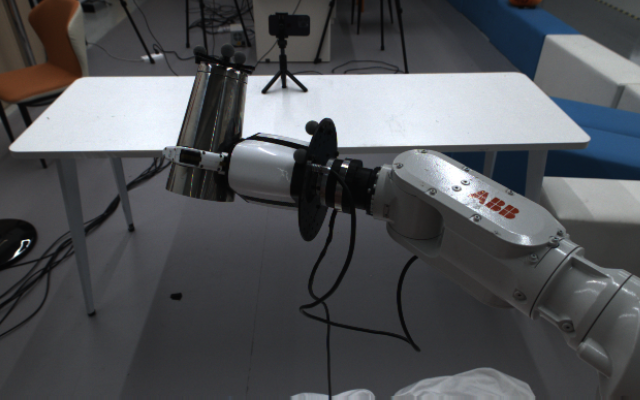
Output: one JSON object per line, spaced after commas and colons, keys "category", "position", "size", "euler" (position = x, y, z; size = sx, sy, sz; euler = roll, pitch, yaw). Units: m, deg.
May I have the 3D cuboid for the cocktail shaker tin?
{"category": "cocktail shaker tin", "position": [-0.146, -0.090, 0.649], "size": [0.093, 0.170, 0.093], "euler": [12, 5, -1]}
